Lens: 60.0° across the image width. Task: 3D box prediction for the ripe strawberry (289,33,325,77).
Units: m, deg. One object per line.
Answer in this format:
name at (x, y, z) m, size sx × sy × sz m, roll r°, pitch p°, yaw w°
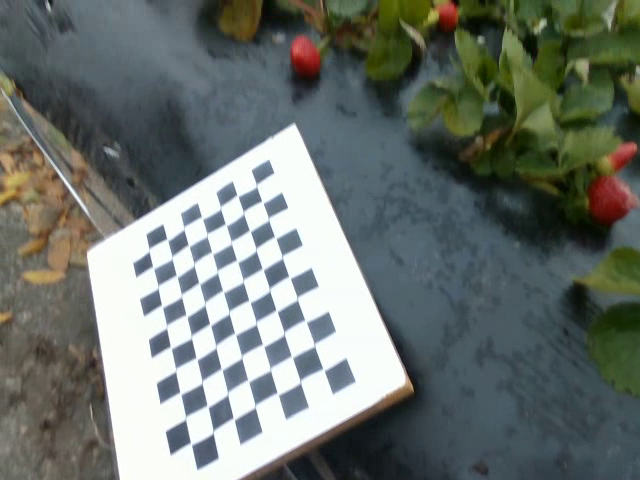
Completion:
ripe strawberry at (-0.030, -0.224, 0.684) m, size 0.045 × 0.048 × 0.054 m, roll 7°, pitch 26°, yaw 27°
